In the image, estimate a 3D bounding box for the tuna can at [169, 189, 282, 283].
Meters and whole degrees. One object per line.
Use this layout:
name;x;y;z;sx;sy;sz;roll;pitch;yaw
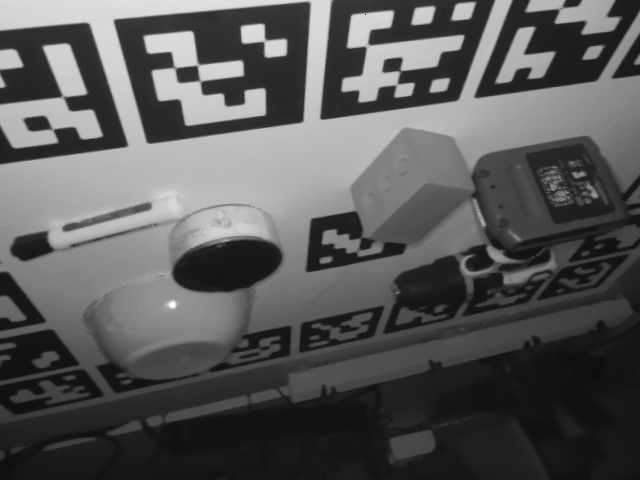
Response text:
tuna can;-0.075;-0.003;0.544;0.086;0.034;0.085;-10;148;-5

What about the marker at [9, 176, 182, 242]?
marker;-0.159;-0.021;0.490;0.121;0.020;0.019;-15;146;-1

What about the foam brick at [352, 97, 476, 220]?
foam brick;0.068;-0.059;0.515;0.052;0.053;0.077;6;141;-28

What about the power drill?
power drill;0.180;-0.014;0.625;0.185;0.057;0.185;-8;150;-6

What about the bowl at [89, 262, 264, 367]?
bowl;-0.126;0.076;0.643;0.162;0.055;0.160;-15;155;-6
